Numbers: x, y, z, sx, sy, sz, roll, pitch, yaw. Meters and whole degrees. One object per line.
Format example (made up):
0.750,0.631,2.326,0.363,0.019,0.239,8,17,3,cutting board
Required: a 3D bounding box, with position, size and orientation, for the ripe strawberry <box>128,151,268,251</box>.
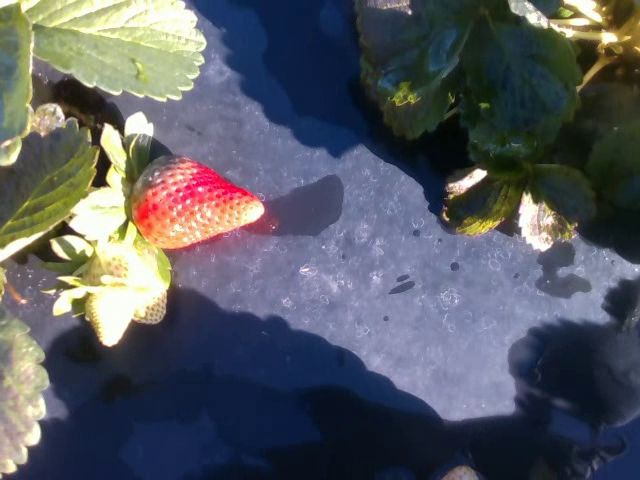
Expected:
-0.051,-0.016,0.262,0.064,0.049,0.052,1,33,9,ripe strawberry
